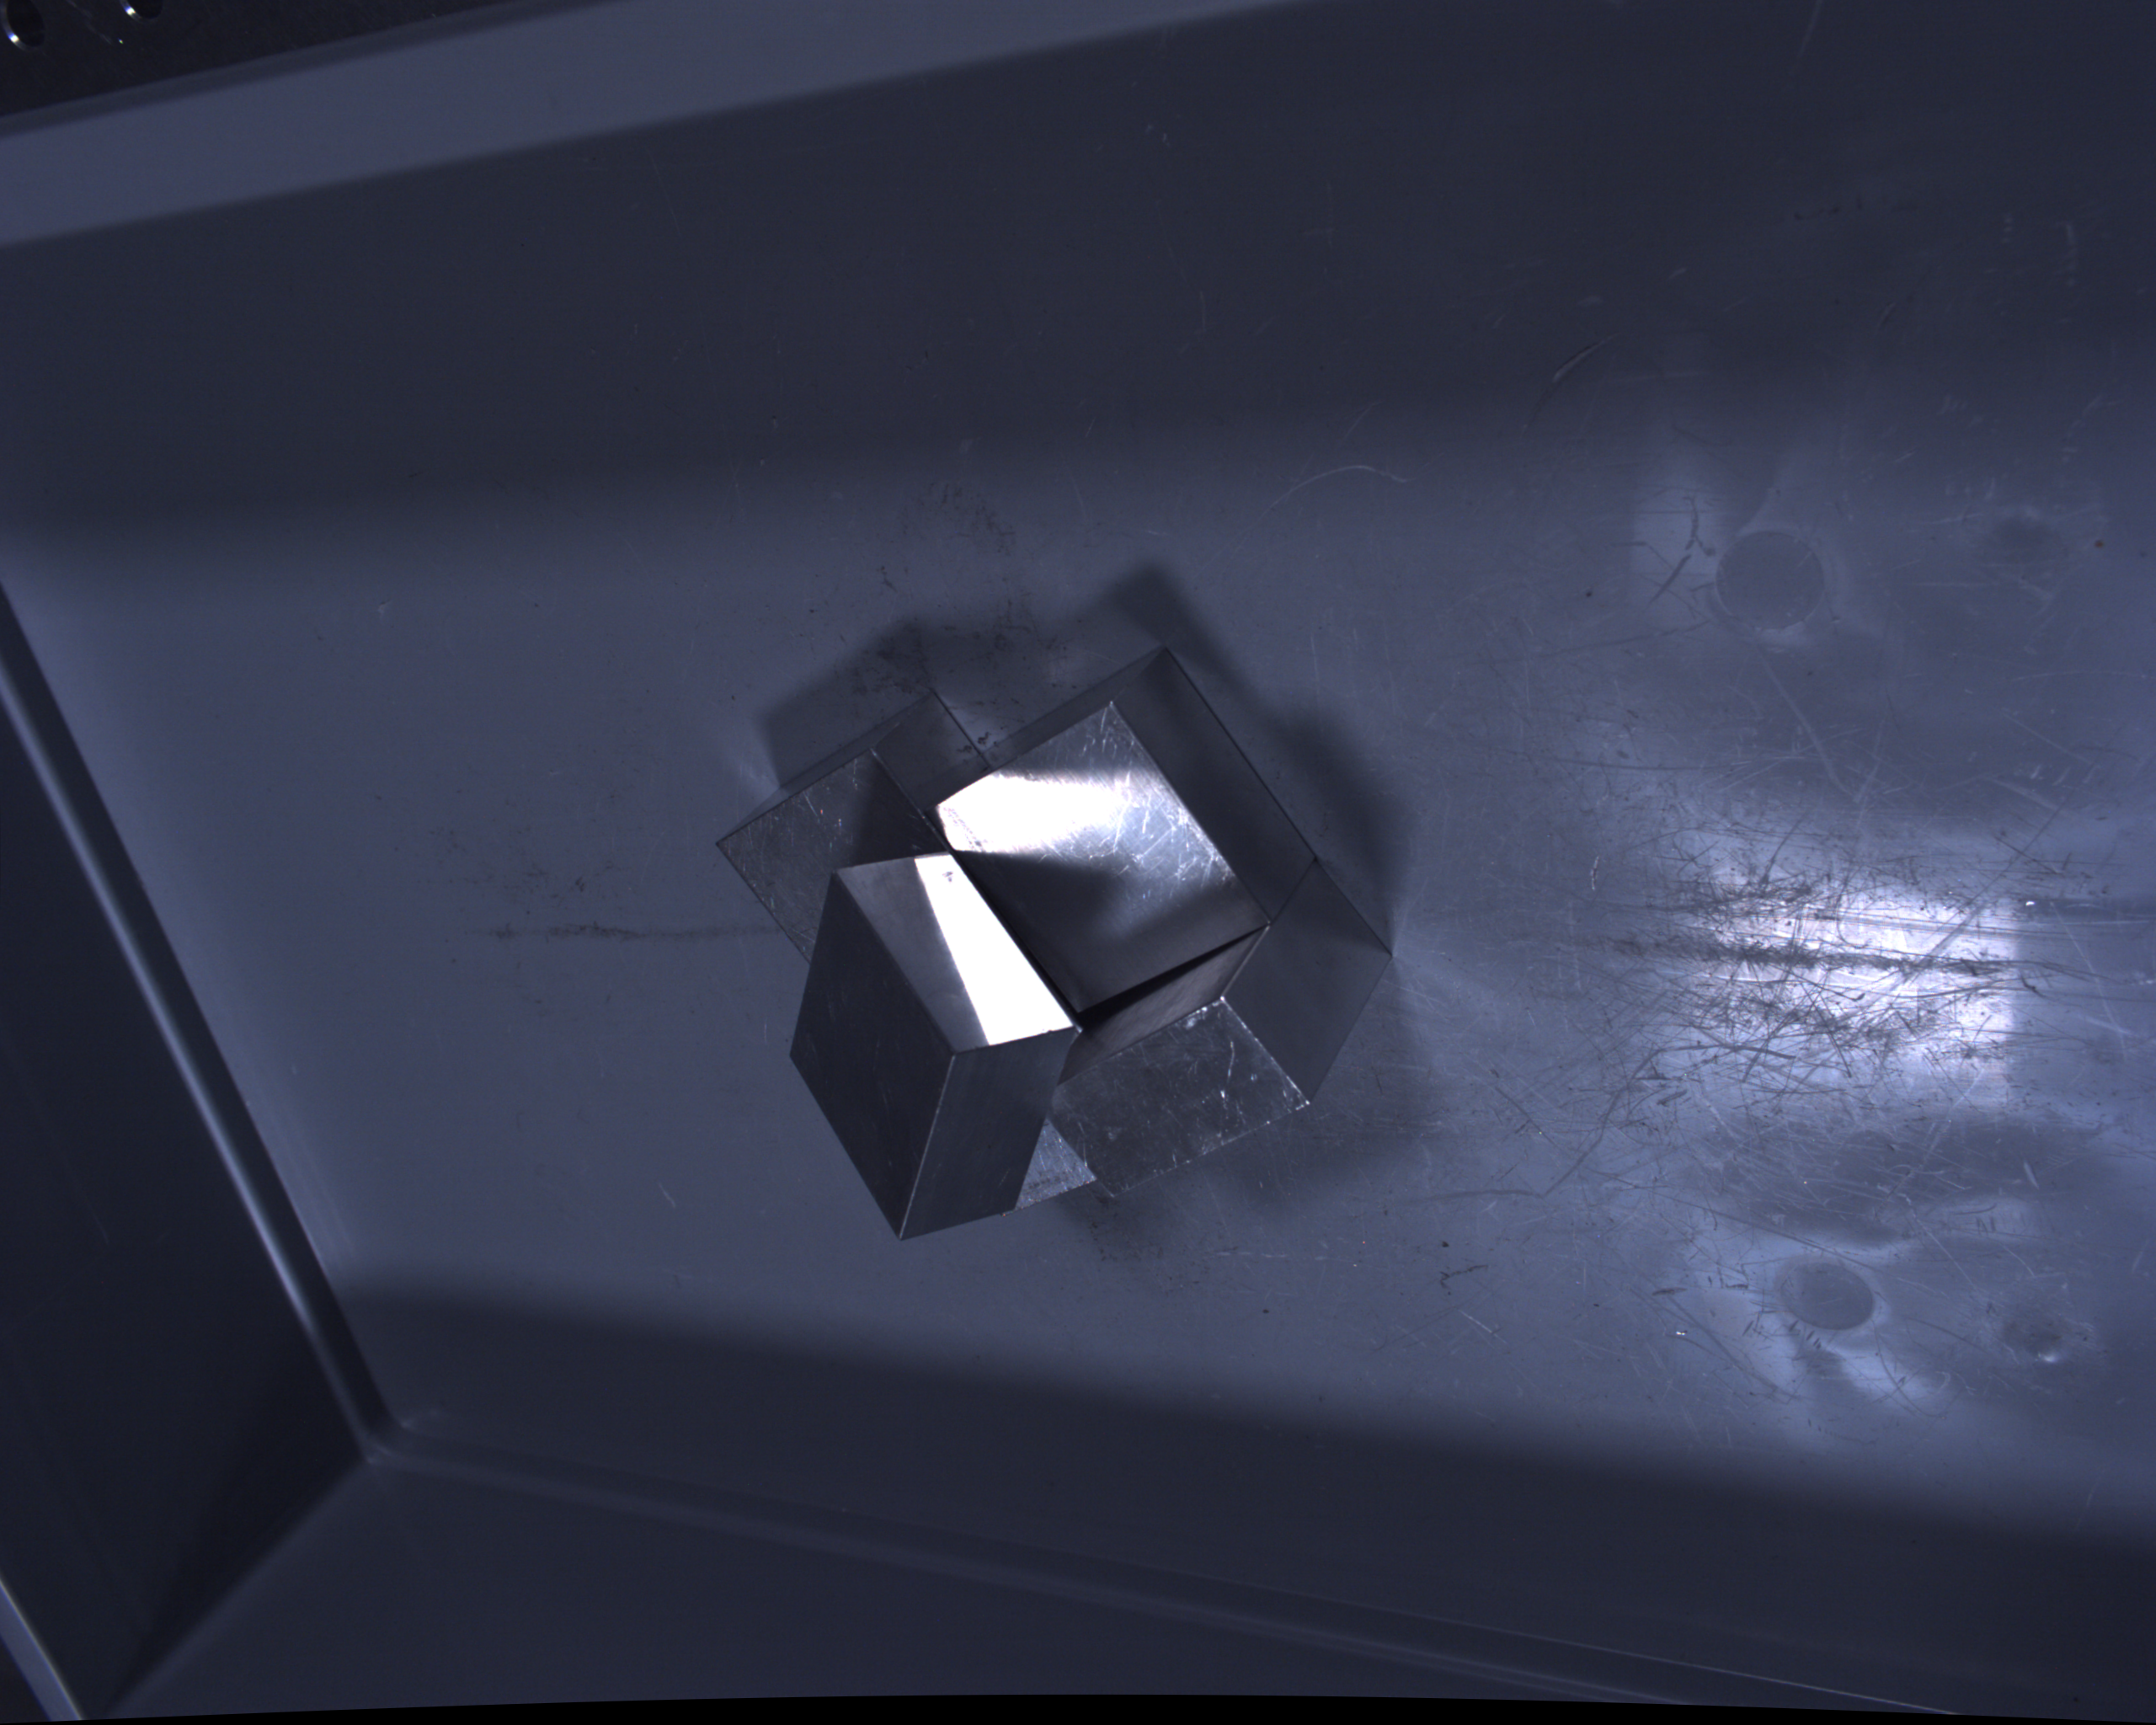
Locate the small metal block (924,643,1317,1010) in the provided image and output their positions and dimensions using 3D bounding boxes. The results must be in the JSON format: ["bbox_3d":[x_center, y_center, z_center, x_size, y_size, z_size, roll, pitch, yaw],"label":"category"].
[{"bbox_3d":[0.008,-0.006,0.398,0.050,0.025,0.050,-28,104,37],"label":"small metal block"}]

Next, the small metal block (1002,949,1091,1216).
[{"bbox_3d":[-0.008,0.040,0.434,0.050,0.025,0.050,-28,104,37],"label":"small metal block"}]

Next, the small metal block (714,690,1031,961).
[{"bbox_3d":[-0.037,0.001,0.425,0.050,0.025,0.050,-28,104,37],"label":"small metal block"}]

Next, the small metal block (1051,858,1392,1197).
[{"bbox_3d":[0.026,0.031,0.395,0.050,0.050,0.025,-32,101,37],"label":"small metal block"}]

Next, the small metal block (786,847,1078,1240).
[{"bbox_3d":[-0.029,0.033,0.393,0.050,0.025,0.050,52,138,37],"label":"small metal block"}]
